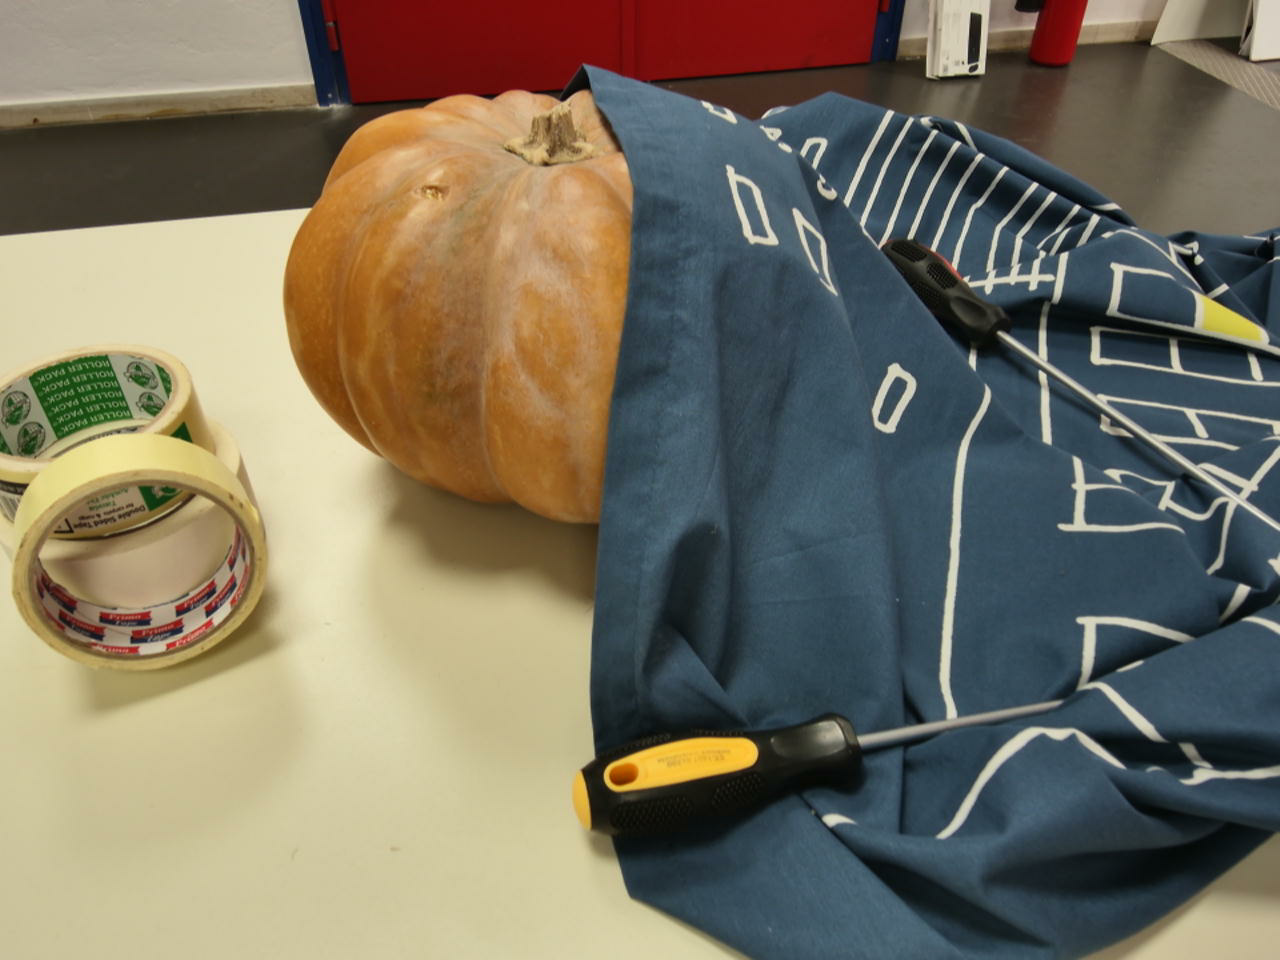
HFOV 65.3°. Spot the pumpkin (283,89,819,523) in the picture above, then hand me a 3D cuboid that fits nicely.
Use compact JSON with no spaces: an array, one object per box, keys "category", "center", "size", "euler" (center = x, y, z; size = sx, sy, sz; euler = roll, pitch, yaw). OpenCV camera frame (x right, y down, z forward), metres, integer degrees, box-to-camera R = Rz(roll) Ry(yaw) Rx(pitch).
[{"category":"pumpkin","center":[-0.039,-0.095,0.504],"size":[0.277,0.181,0.277],"euler":[0,39,0]}]
